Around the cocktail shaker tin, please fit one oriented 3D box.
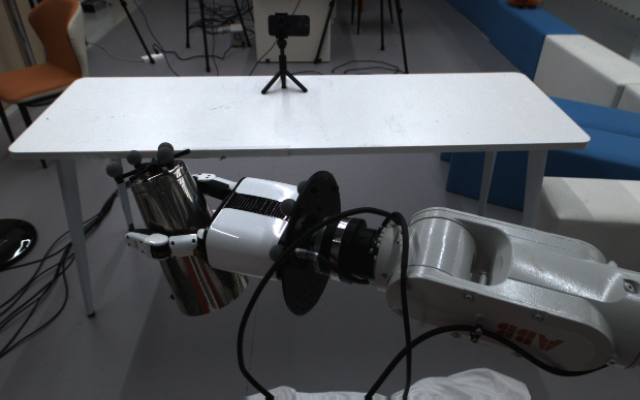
[{"bbox_3d":[-0.159,0.043,0.580,0.093,0.170,0.093,-17,21,7],"label":"cocktail shaker tin"}]
